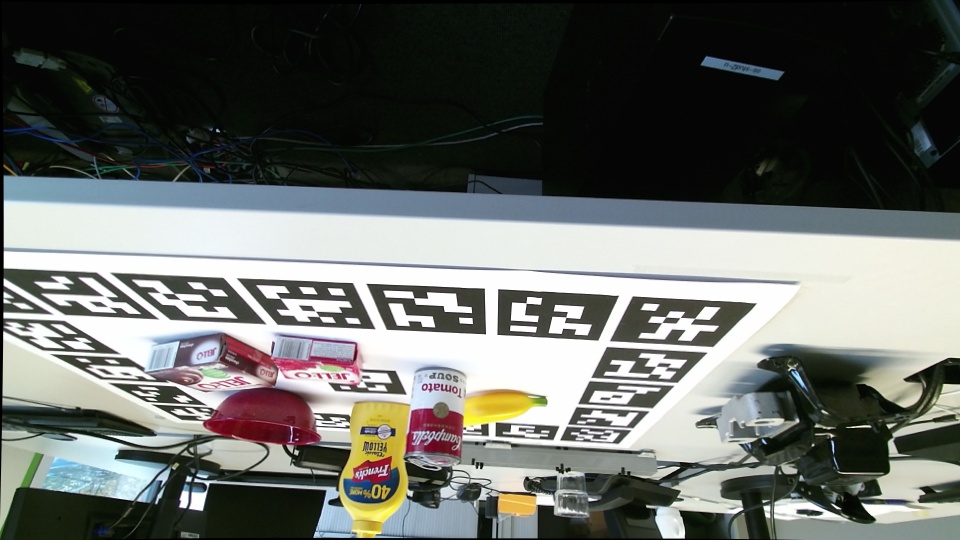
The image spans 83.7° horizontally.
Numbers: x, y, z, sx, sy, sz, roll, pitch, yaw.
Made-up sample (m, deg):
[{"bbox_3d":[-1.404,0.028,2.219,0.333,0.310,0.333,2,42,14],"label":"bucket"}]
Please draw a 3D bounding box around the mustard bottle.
[{"bbox_3d":[-0.157,0.299,0.752,0.096,0.190,0.058,3,152,3],"label":"mustard bottle"}]

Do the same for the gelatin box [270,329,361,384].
[{"bbox_3d":[-0.181,0.099,0.598,0.090,0.030,0.073,6,146,-4],"label":"gelatin box"}]

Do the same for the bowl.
[{"bbox_3d":[-0.322,0.212,0.786,0.162,0.055,0.162,2,150,1],"label":"bowl"}]

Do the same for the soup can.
[{"bbox_3d":[-0.050,0.185,0.639,0.068,0.101,0.068,5,151,3],"label":"soup can"}]

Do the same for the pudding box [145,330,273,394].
[{"bbox_3d":[-0.317,0.111,0.626,0.114,0.038,0.090,-10,141,23],"label":"pudding box"}]

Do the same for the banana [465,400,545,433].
[{"bbox_3d":[-0.004,0.210,0.755,0.074,0.038,0.197,17,148,-39],"label":"banana"}]
